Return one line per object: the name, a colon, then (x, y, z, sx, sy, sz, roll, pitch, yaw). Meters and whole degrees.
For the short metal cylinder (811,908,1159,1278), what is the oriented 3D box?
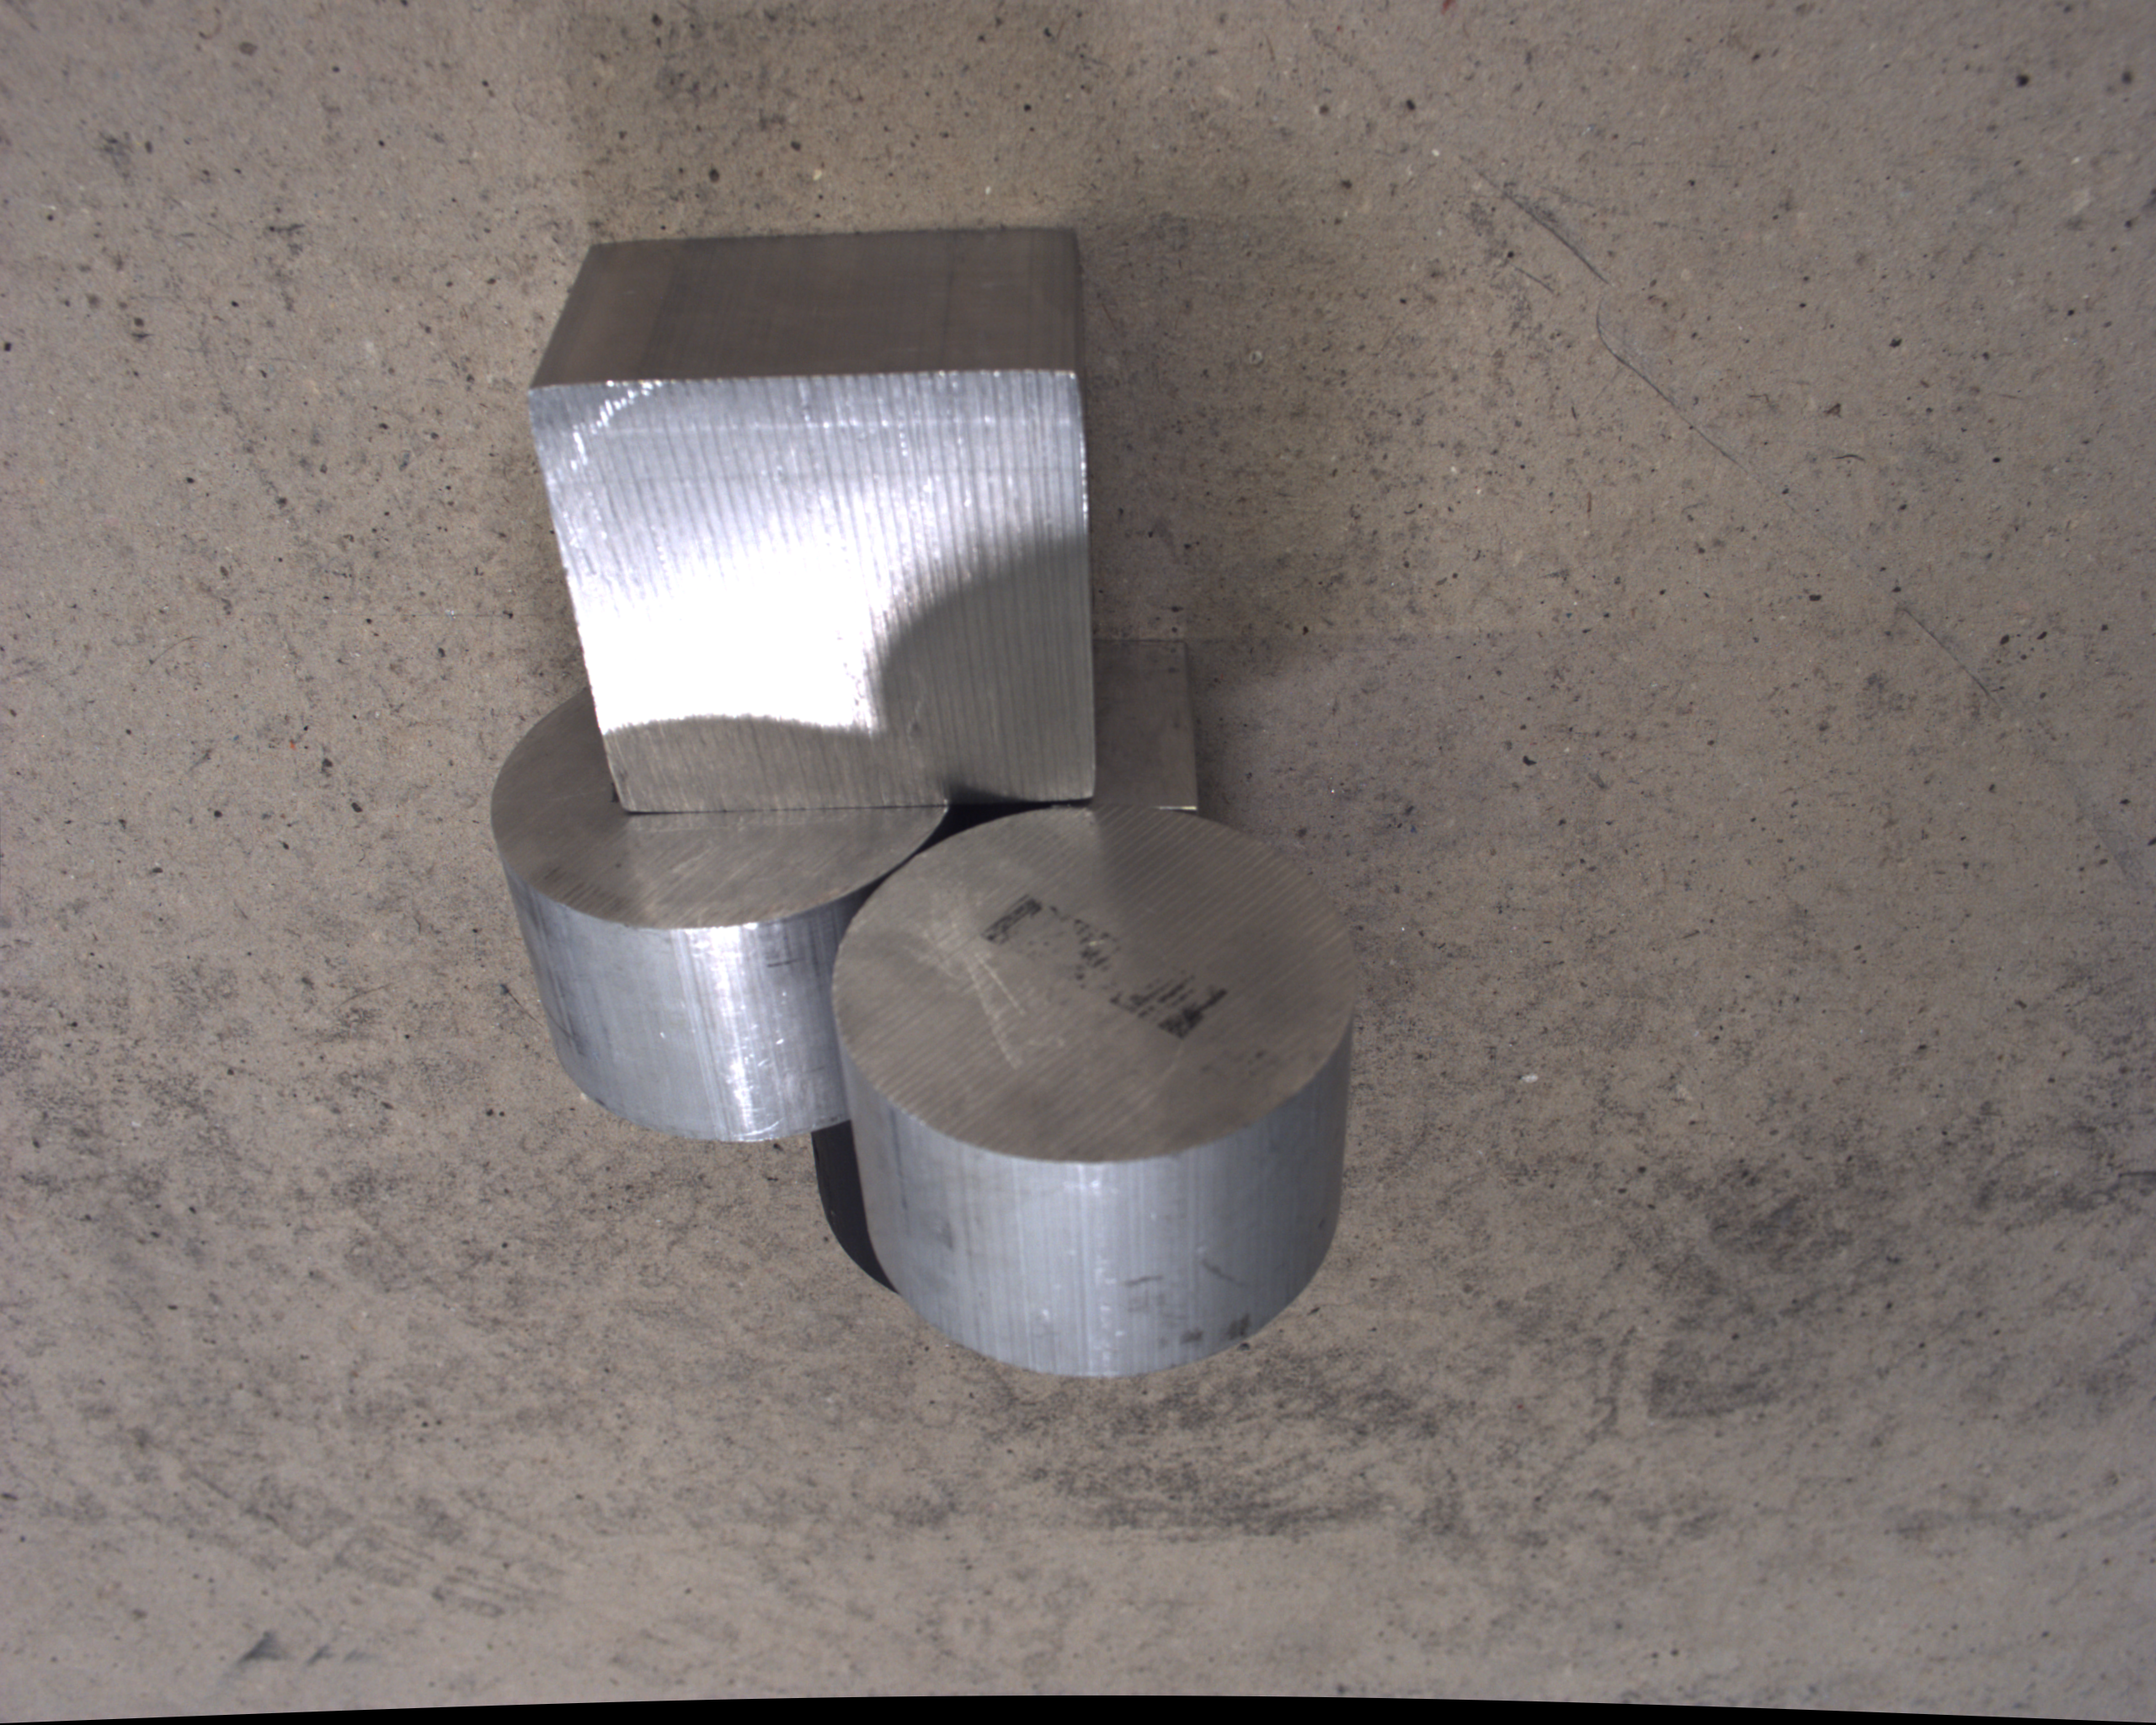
short metal cylinder: (-0.013, 0.041, 0.408, 0.081, 0.080, 0.050, 0, 130, 0)

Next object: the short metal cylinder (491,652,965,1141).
short metal cylinder: (-0.059, 0.003, 0.376, 0.080, 0.080, 0.050, -2, 130, 1)

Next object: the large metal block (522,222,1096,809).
large metal block: (-0.039, -0.056, 0.345, 0.080, 0.050, 0.079, -2, 130, 1)

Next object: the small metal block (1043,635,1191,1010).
small metal block: (0.006, -0.008, 0.389, 0.025, 0.050, 0.050, 1, 130, -1)

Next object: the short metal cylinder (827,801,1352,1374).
short metal cylinder: (0.003, 0.034, 0.337, 0.080, 0.080, 0.050, -2, 130, 1)
